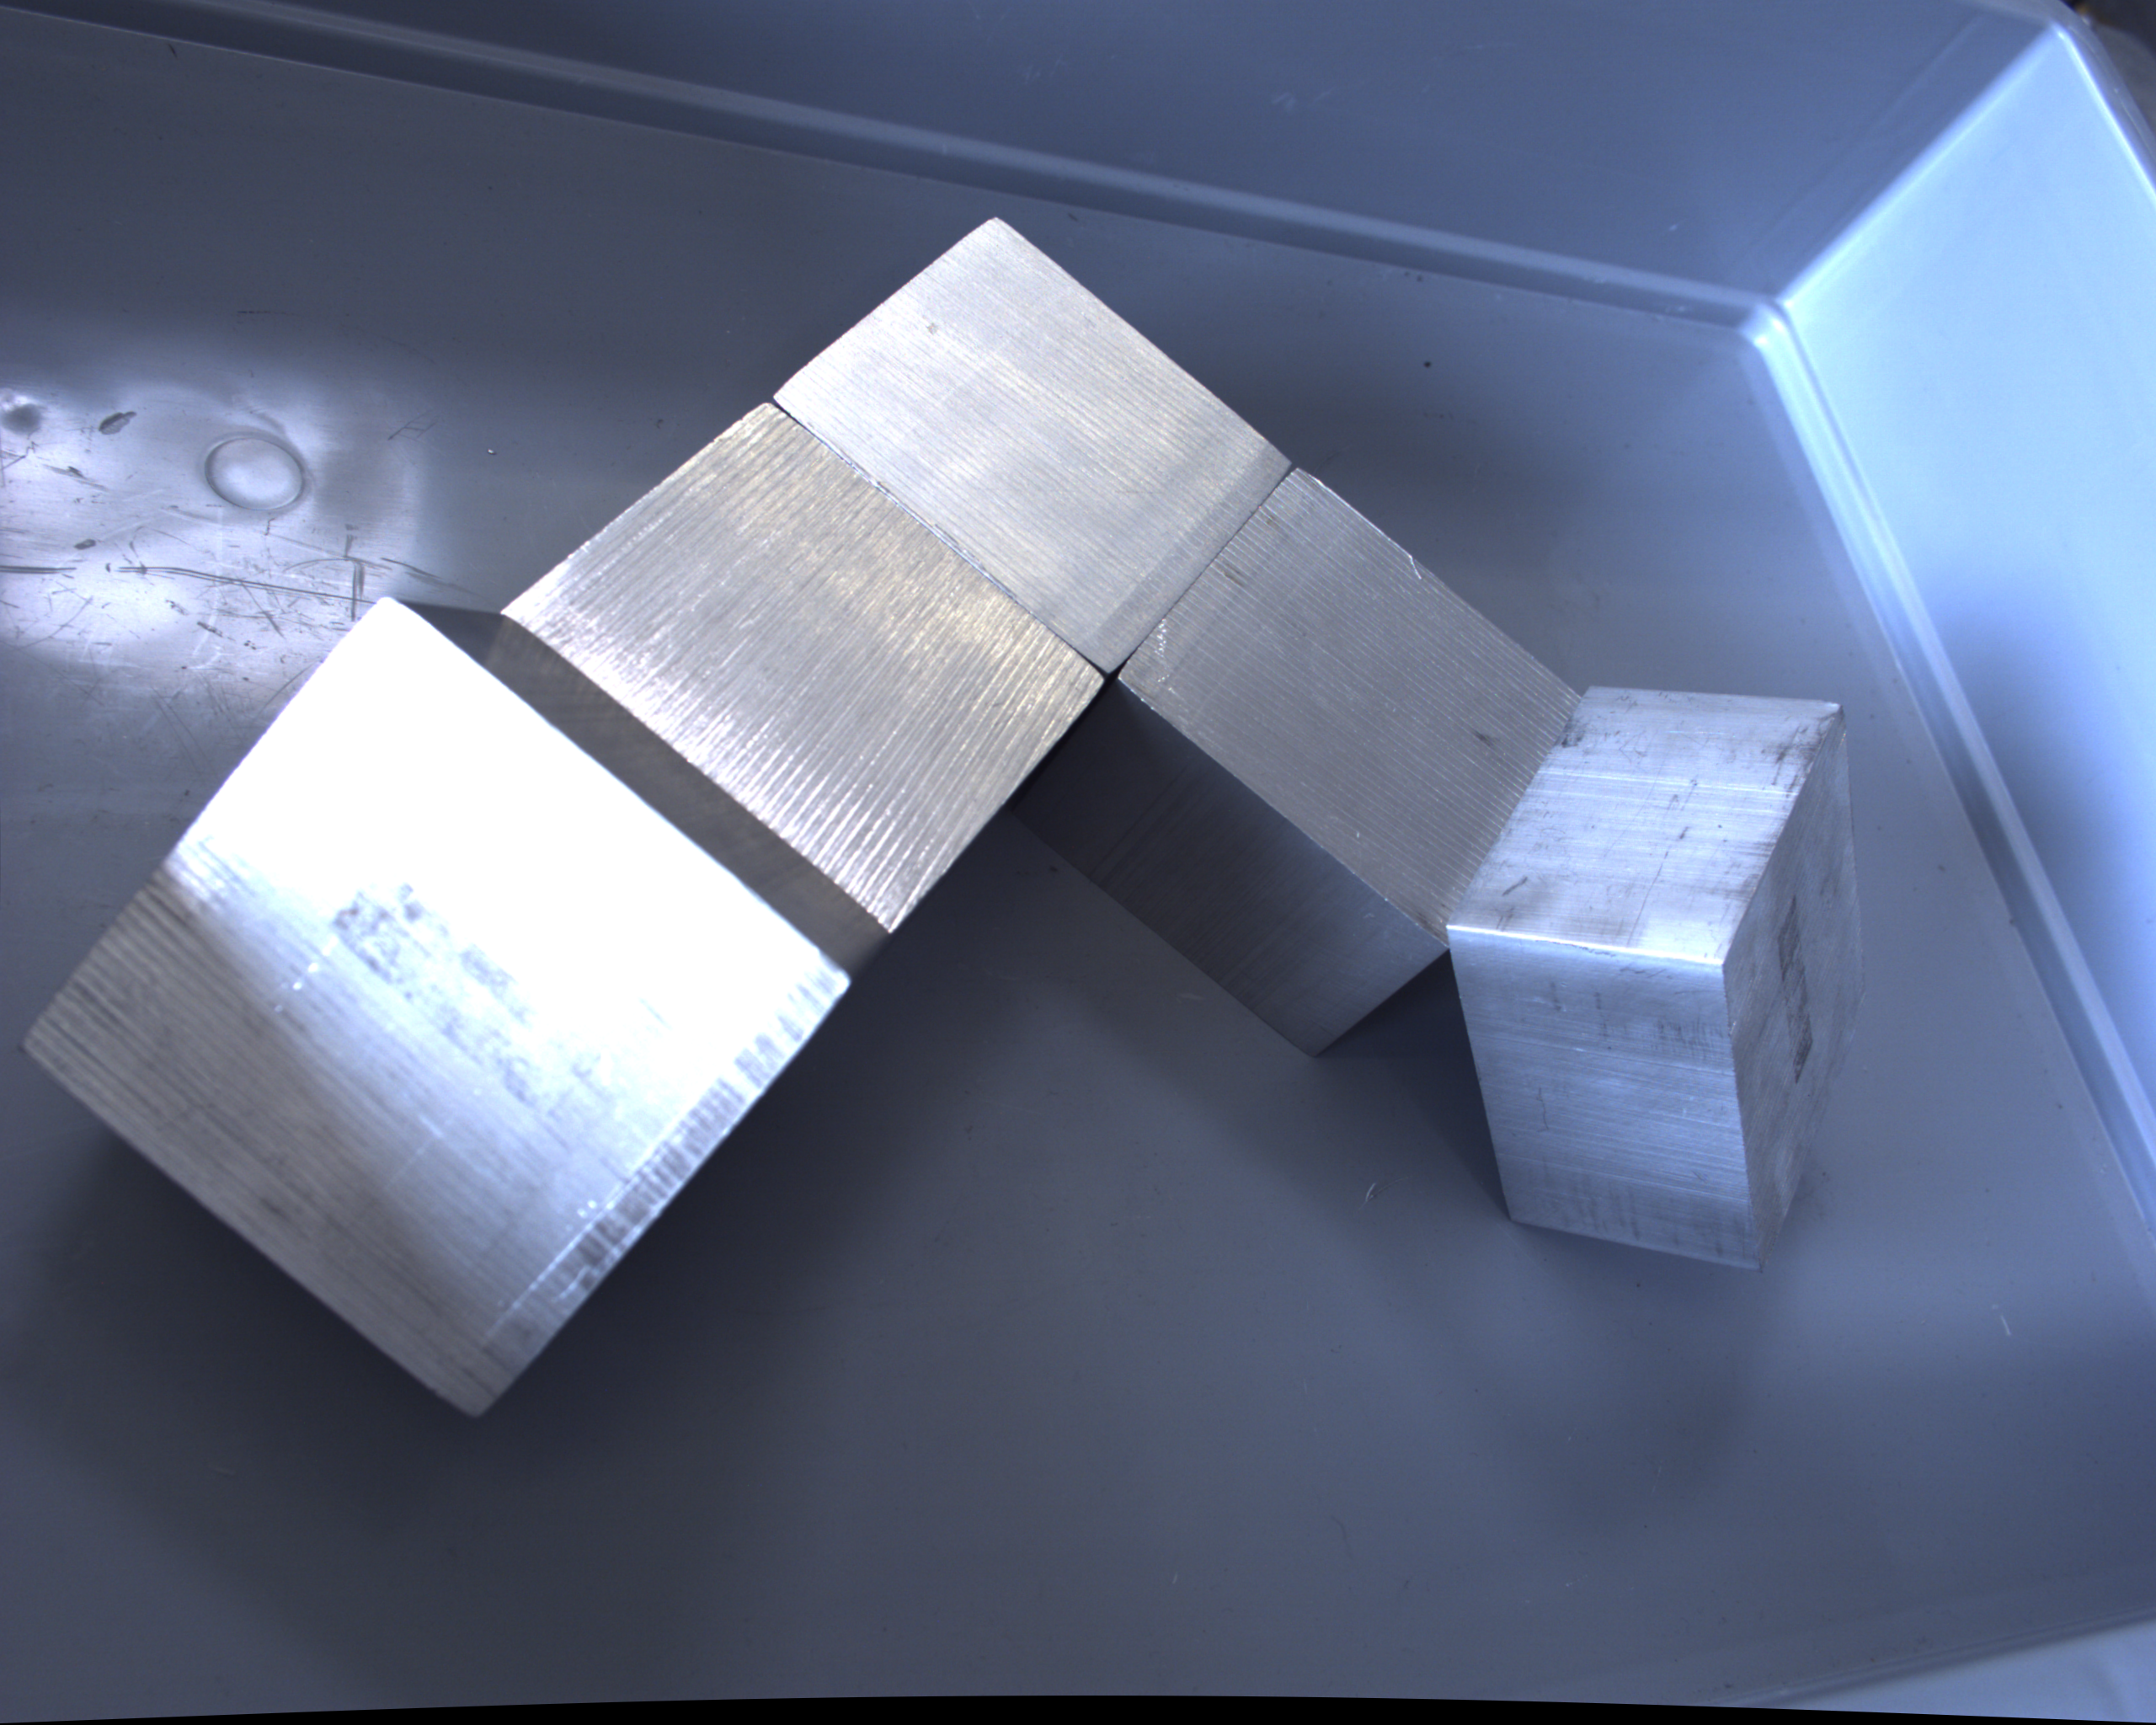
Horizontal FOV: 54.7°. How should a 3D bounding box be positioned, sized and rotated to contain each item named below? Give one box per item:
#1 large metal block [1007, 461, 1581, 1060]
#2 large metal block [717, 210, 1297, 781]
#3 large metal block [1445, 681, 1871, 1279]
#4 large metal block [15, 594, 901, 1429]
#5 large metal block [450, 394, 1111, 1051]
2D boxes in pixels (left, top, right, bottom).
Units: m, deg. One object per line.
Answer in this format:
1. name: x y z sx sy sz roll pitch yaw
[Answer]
1. large metal block: 0.047 -0.022 0.425 0.080 0.050 0.080 39 51 -2
2. large metal block: -0.016 -0.073 0.423 0.080 0.050 0.080 39 51 -2
3. large metal block: 0.118 0.021 0.411 0.080 0.050 0.080 -52 136 -39
4. large metal block: -0.085 0.019 0.302 0.080 0.050 0.080 39 94 -2
5. large metal block: -0.055 -0.023 0.372 0.080 0.050 0.080 39 51 -2
